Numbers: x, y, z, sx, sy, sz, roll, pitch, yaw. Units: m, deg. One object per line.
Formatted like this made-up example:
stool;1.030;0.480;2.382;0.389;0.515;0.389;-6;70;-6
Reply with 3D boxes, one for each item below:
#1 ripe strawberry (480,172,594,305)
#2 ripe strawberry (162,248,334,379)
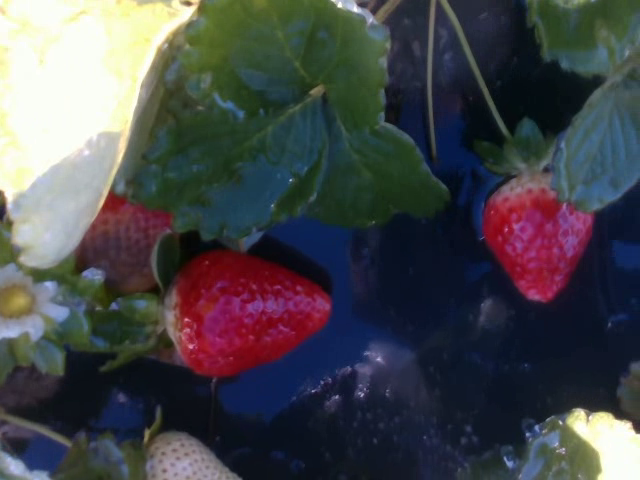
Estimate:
ripe strawberry;0.071;0.001;0.197;0.039;0.047;0.040;-10;16;-12
ripe strawberry;-0.019;0.028;0.199;0.056;0.044;0.040;0;25;-17
